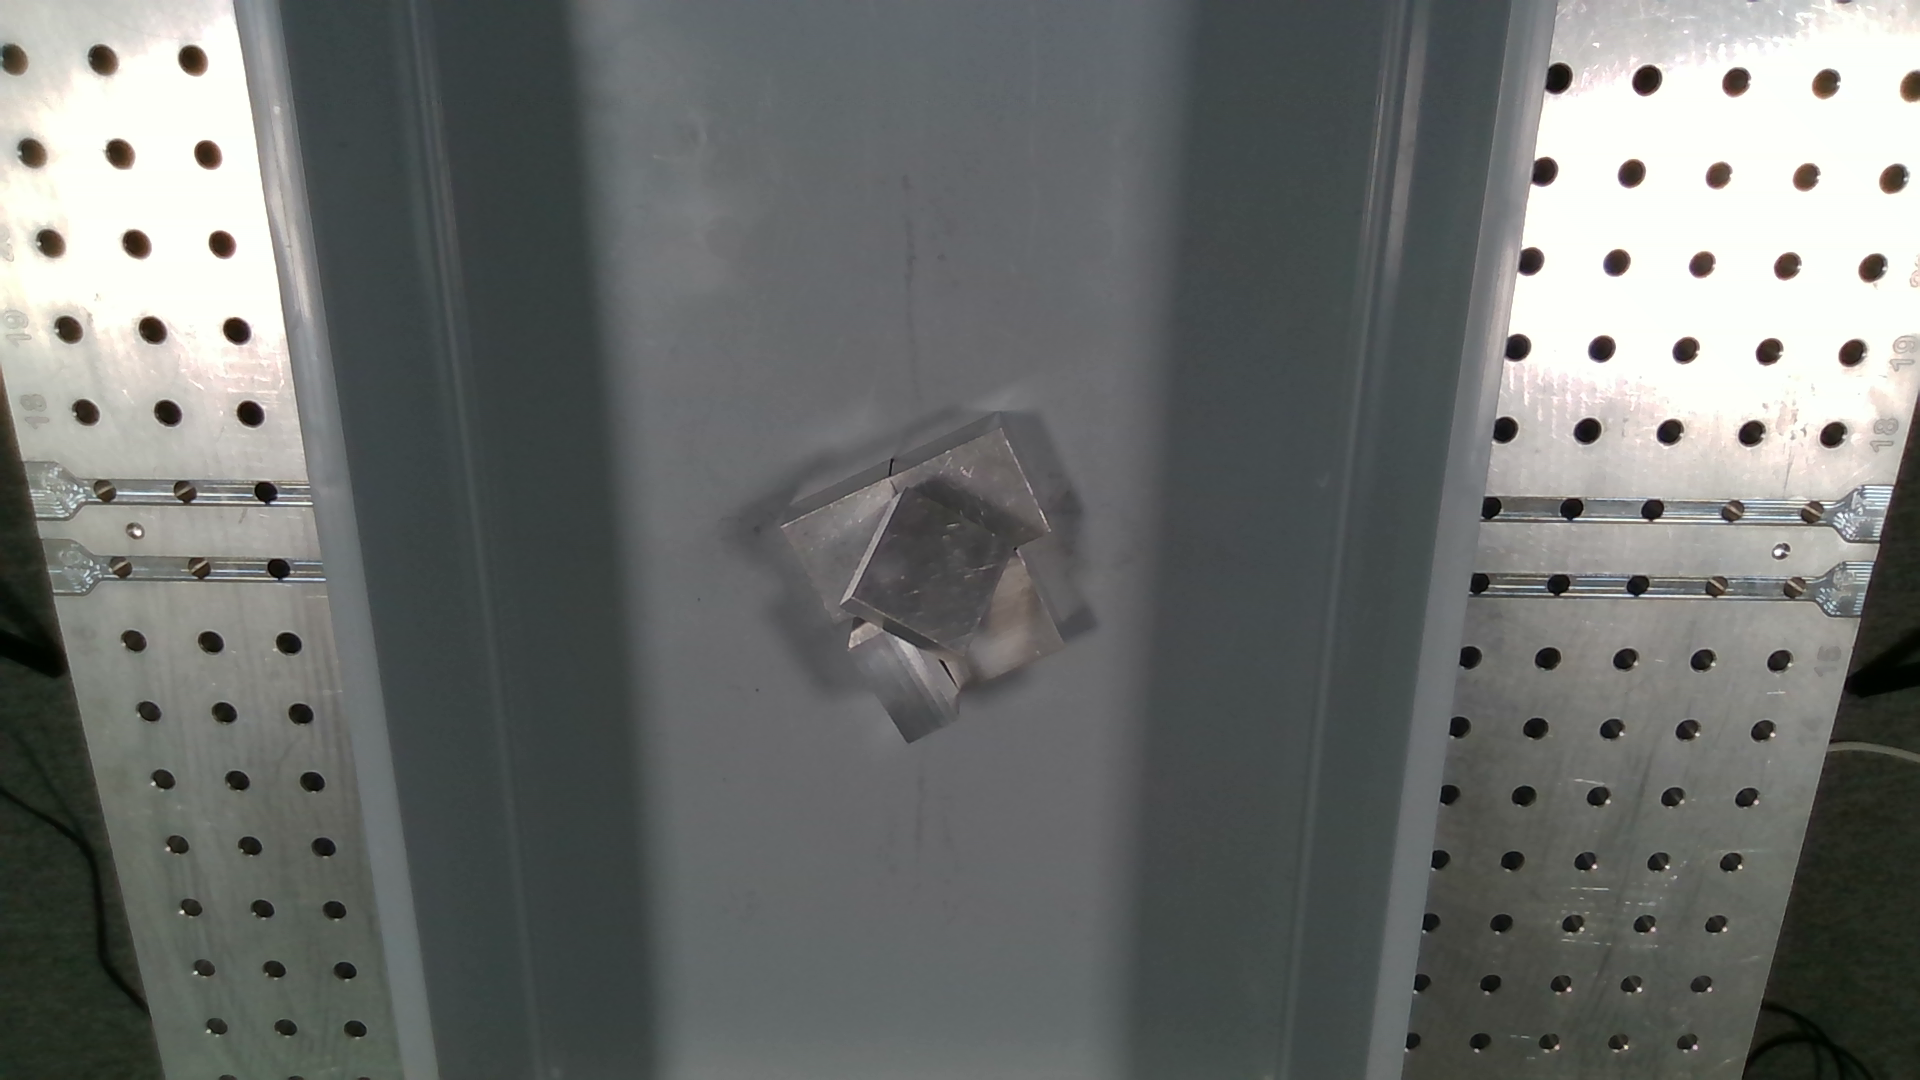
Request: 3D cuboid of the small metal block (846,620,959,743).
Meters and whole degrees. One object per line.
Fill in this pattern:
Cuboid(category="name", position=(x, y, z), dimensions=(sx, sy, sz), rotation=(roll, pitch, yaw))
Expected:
Cuboid(category="small metal block", position=(-0.024, 0.050, 0.588), dimensions=(0.025, 0.050, 0.050), rotation=(-27, 109, 9))

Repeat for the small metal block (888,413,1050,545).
Cuboid(category="small metal block", position=(0.004, -0.020, 0.576), dimensions=(0.050, 0.025, 0.050), rotation=(-24, 108, 8))

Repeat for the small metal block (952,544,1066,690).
Cuboid(category="small metal block", position=(0.012, 0.030, 0.594), dimensions=(0.050, 0.025, 0.050), rotation=(-24, 108, 8))

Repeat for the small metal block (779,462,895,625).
Cuboid(category="small metal block", position=(-0.042, 0.000, 0.584), dimensions=(0.050, 0.025, 0.050), rotation=(-24, 108, 8))

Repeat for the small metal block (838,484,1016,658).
Cuboid(category="small metal block", position=(-0.013, 0.014, 0.549), dimensions=(0.050, 0.025, 0.050), rotation=(28, 73, -10))
